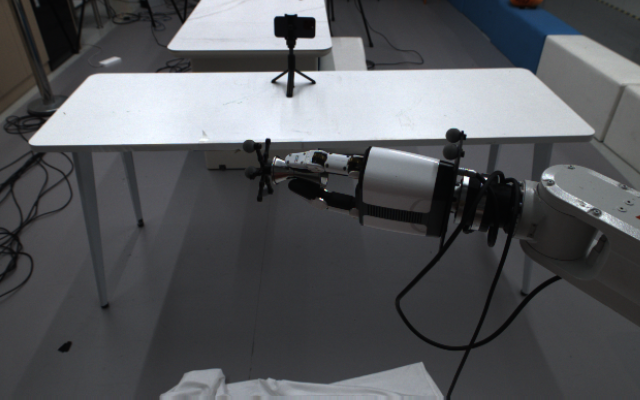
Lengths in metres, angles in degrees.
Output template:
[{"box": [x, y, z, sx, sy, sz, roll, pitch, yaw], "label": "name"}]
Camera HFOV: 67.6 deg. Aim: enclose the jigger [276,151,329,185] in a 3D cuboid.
[{"box": [-0.019, -0.042, 0.643, 0.071, 0.043, 0.043, 3, 34, 14], "label": "jigger"}]
